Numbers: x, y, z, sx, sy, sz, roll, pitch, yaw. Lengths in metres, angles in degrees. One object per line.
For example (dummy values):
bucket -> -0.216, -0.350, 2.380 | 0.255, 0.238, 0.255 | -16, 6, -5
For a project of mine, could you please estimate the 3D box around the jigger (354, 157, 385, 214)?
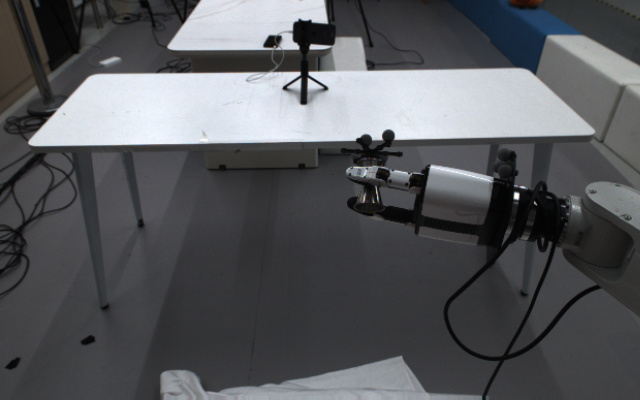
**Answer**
jigger -> 0.070, -0.022, 0.687 | 0.043, 0.043, 0.071 | 4, 71, 3
